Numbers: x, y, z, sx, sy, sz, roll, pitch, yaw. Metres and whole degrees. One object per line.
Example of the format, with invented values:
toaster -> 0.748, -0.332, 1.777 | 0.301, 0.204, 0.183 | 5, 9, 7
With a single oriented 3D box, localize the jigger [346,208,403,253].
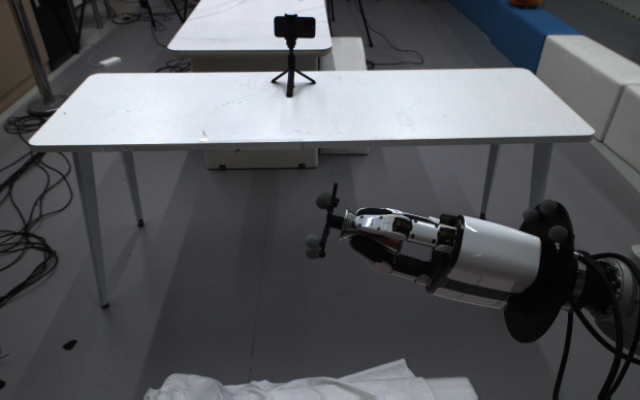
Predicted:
jigger -> 0.066, 0.032, 0.550 | 0.071, 0.043, 0.043 | 13, 36, 4
